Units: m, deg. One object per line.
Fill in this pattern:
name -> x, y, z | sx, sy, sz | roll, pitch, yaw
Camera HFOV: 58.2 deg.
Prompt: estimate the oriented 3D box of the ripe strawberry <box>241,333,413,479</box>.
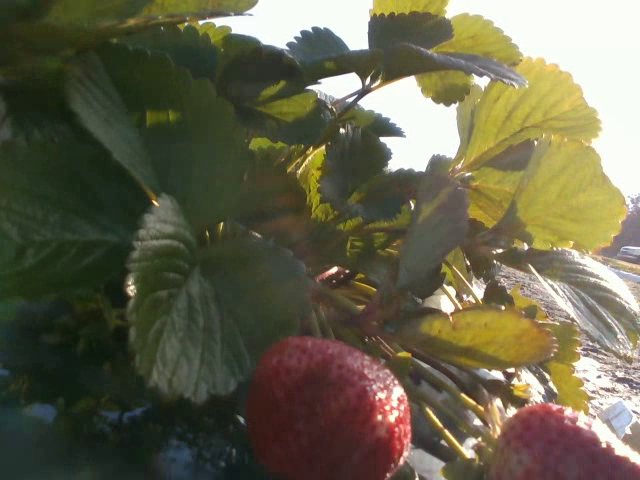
ripe strawberry -> 0.004, 0.042, 0.140 | 0.039, 0.048, 0.054 | -31, -29, -8
